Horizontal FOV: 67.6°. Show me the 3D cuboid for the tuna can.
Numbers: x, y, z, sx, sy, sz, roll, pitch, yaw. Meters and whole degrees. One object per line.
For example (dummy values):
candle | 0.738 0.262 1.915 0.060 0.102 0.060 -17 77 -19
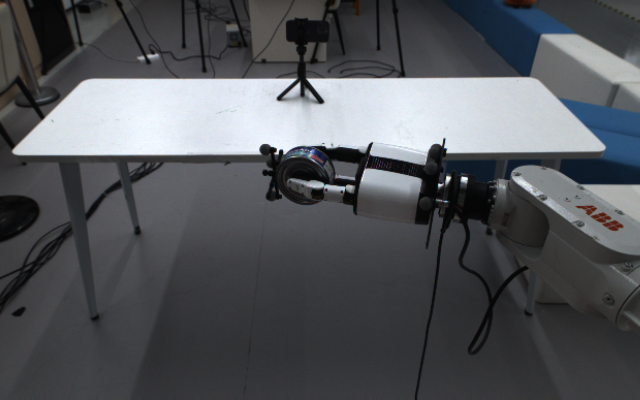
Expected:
tuna can | -0.020 -0.037 0.724 0.085 0.085 0.034 9 33 10
